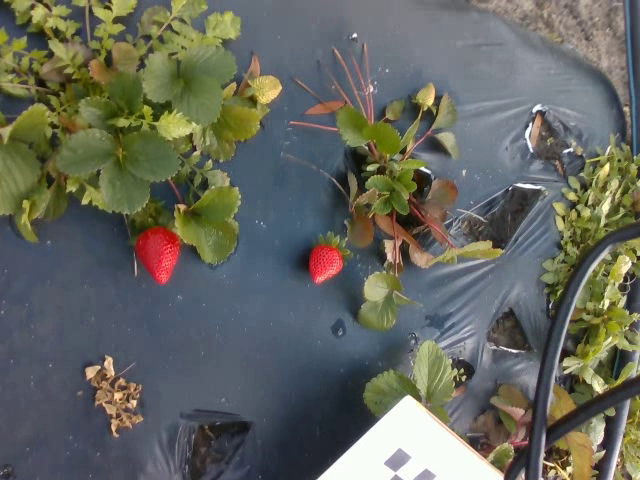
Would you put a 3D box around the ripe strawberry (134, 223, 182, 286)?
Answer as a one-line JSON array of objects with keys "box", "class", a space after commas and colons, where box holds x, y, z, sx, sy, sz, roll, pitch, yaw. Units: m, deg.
[{"box": [-0.134, 0.017, 0.503, 0.046, 0.050, 0.051, -29, -46, 17], "class": "ripe strawberry"}]

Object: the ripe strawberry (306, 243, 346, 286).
[{"box": [0.003, 0.028, 0.579, 0.041, 0.045, 0.052, 7, 45, 24], "class": "ripe strawberry"}]
